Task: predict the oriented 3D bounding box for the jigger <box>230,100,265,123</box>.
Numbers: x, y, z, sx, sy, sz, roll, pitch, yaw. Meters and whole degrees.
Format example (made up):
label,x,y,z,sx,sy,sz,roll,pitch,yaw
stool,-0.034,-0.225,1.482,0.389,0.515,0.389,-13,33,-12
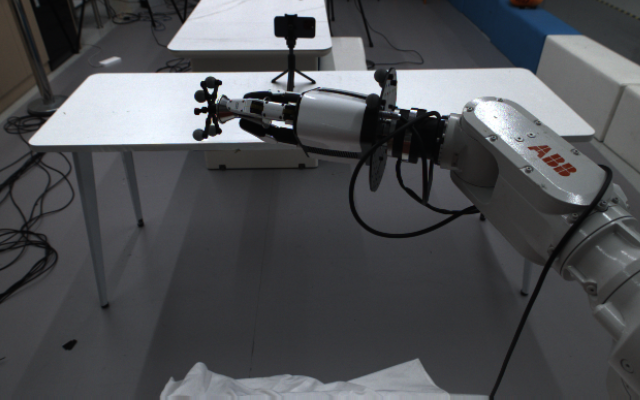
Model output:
label,x,y,z,sx,sy,sz,roll,pitch,yaw
jigger,-0.103,-0.127,0.672,0.071,0.043,0.043,6,35,14
